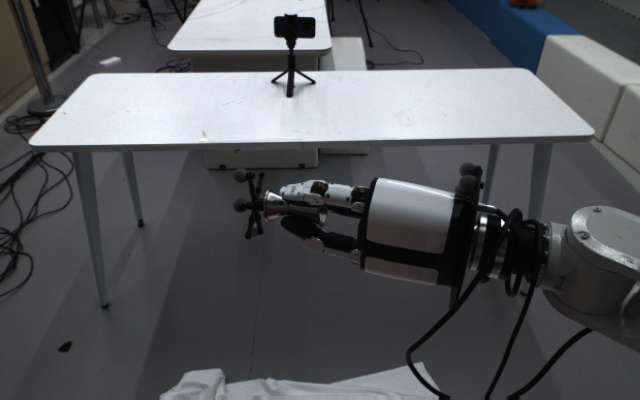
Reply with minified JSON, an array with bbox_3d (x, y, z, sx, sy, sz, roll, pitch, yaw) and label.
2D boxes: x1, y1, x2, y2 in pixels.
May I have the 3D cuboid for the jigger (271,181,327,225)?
[{"bbox_3d":[-0.021,0.005,0.574,0.071,0.043,0.043,2,34,13],"label":"jigger"}]
